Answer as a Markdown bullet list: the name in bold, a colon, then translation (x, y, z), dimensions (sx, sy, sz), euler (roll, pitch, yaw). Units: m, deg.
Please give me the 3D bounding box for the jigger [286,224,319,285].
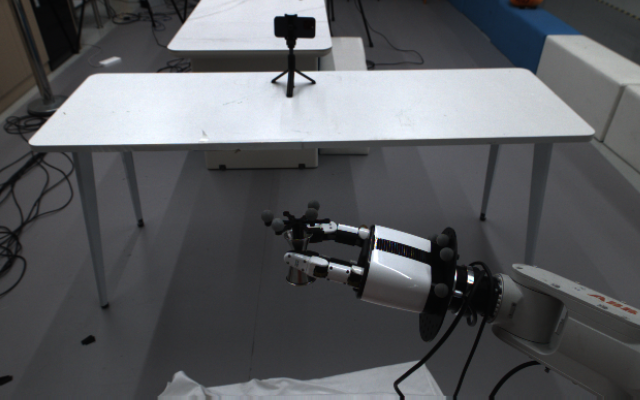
- **jigger**: translation (-0.028, 0.077, 0.669), dimensions (0.043, 0.071, 0.043), euler (-2, 19, 1)
